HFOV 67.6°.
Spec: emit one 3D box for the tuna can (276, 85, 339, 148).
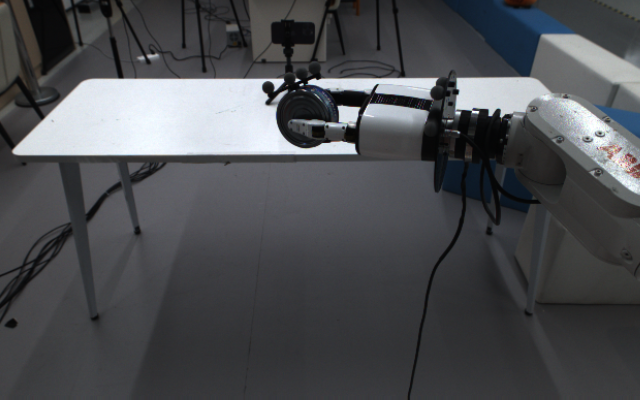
[{"bbox_3d":[-0.015,-0.113,0.686,0.085,0.085,0.034,14,30,17],"label":"tuna can"}]
